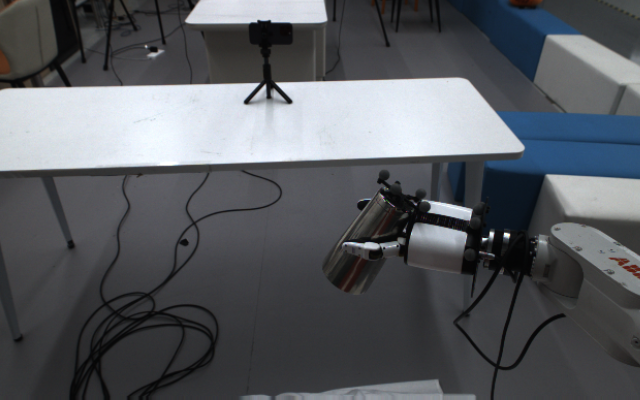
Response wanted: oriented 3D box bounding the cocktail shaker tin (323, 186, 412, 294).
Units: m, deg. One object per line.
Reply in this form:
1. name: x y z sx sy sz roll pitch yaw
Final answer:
1. cocktail shaker tin: 0.083 0.060 0.801 0.093 0.170 0.093 25 29 -15
